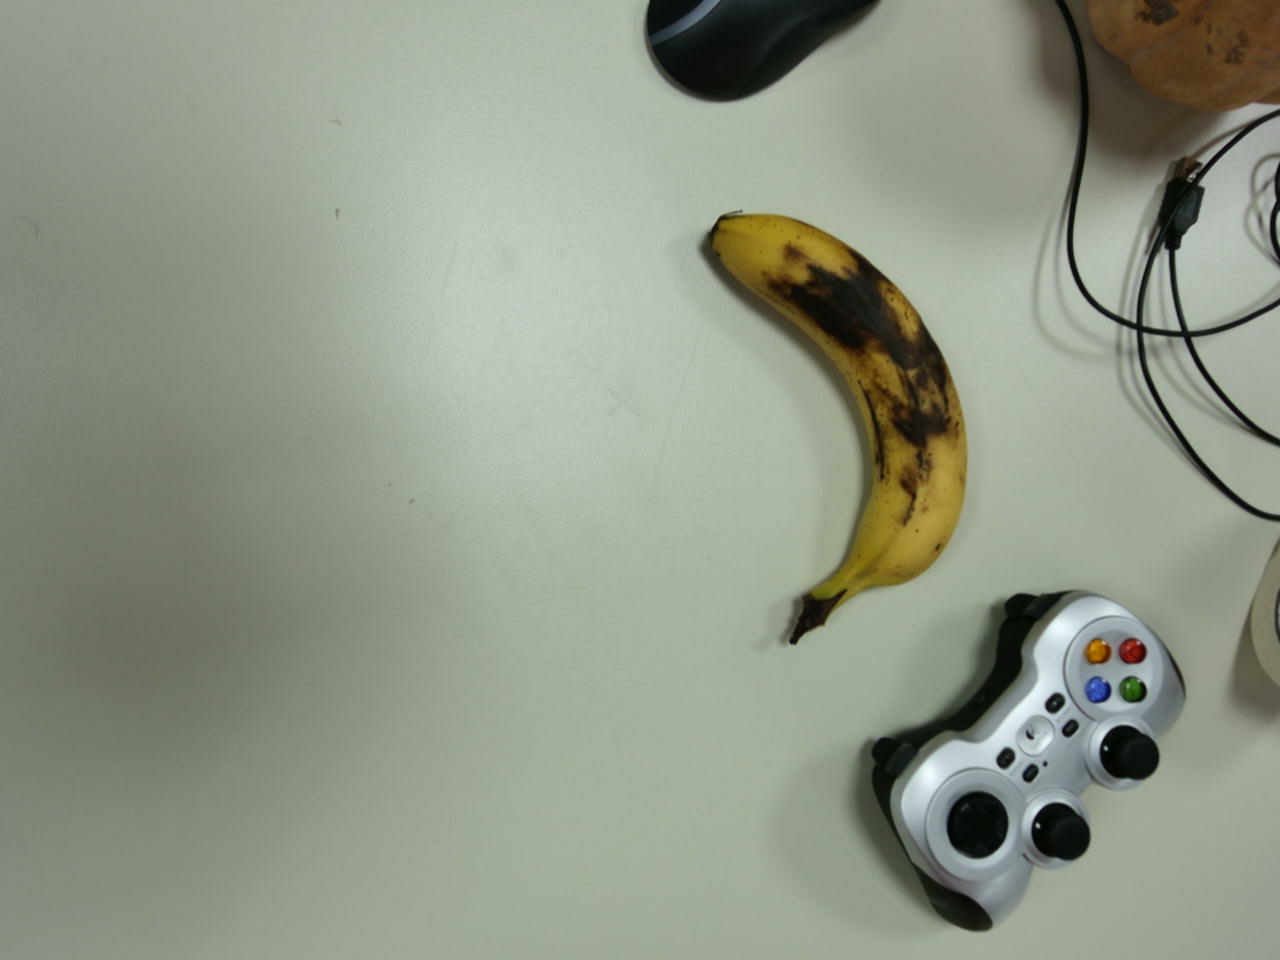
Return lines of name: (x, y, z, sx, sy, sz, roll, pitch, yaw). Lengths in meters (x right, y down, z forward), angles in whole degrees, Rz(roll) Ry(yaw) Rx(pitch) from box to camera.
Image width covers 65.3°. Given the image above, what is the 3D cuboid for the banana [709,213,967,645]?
banana: (0.093, -0.031, 0.437, 0.094, 0.039, 0.187, -12, 93, -11)
